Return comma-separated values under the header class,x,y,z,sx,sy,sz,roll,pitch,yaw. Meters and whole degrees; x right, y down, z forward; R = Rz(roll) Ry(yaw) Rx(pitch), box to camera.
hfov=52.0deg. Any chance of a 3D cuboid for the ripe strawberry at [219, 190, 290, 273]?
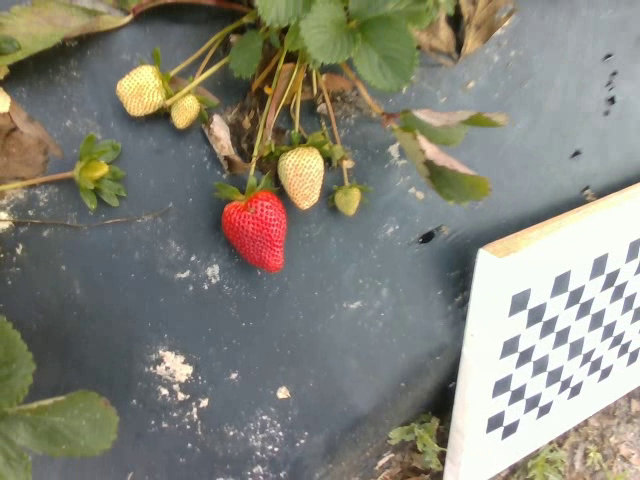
class,x,y,z,sx,sy,sz,roll,pitch,yaw
ripe strawberry,-0.038,-0.005,0.418,0.050,0.059,0.034,-27,-7,-16
